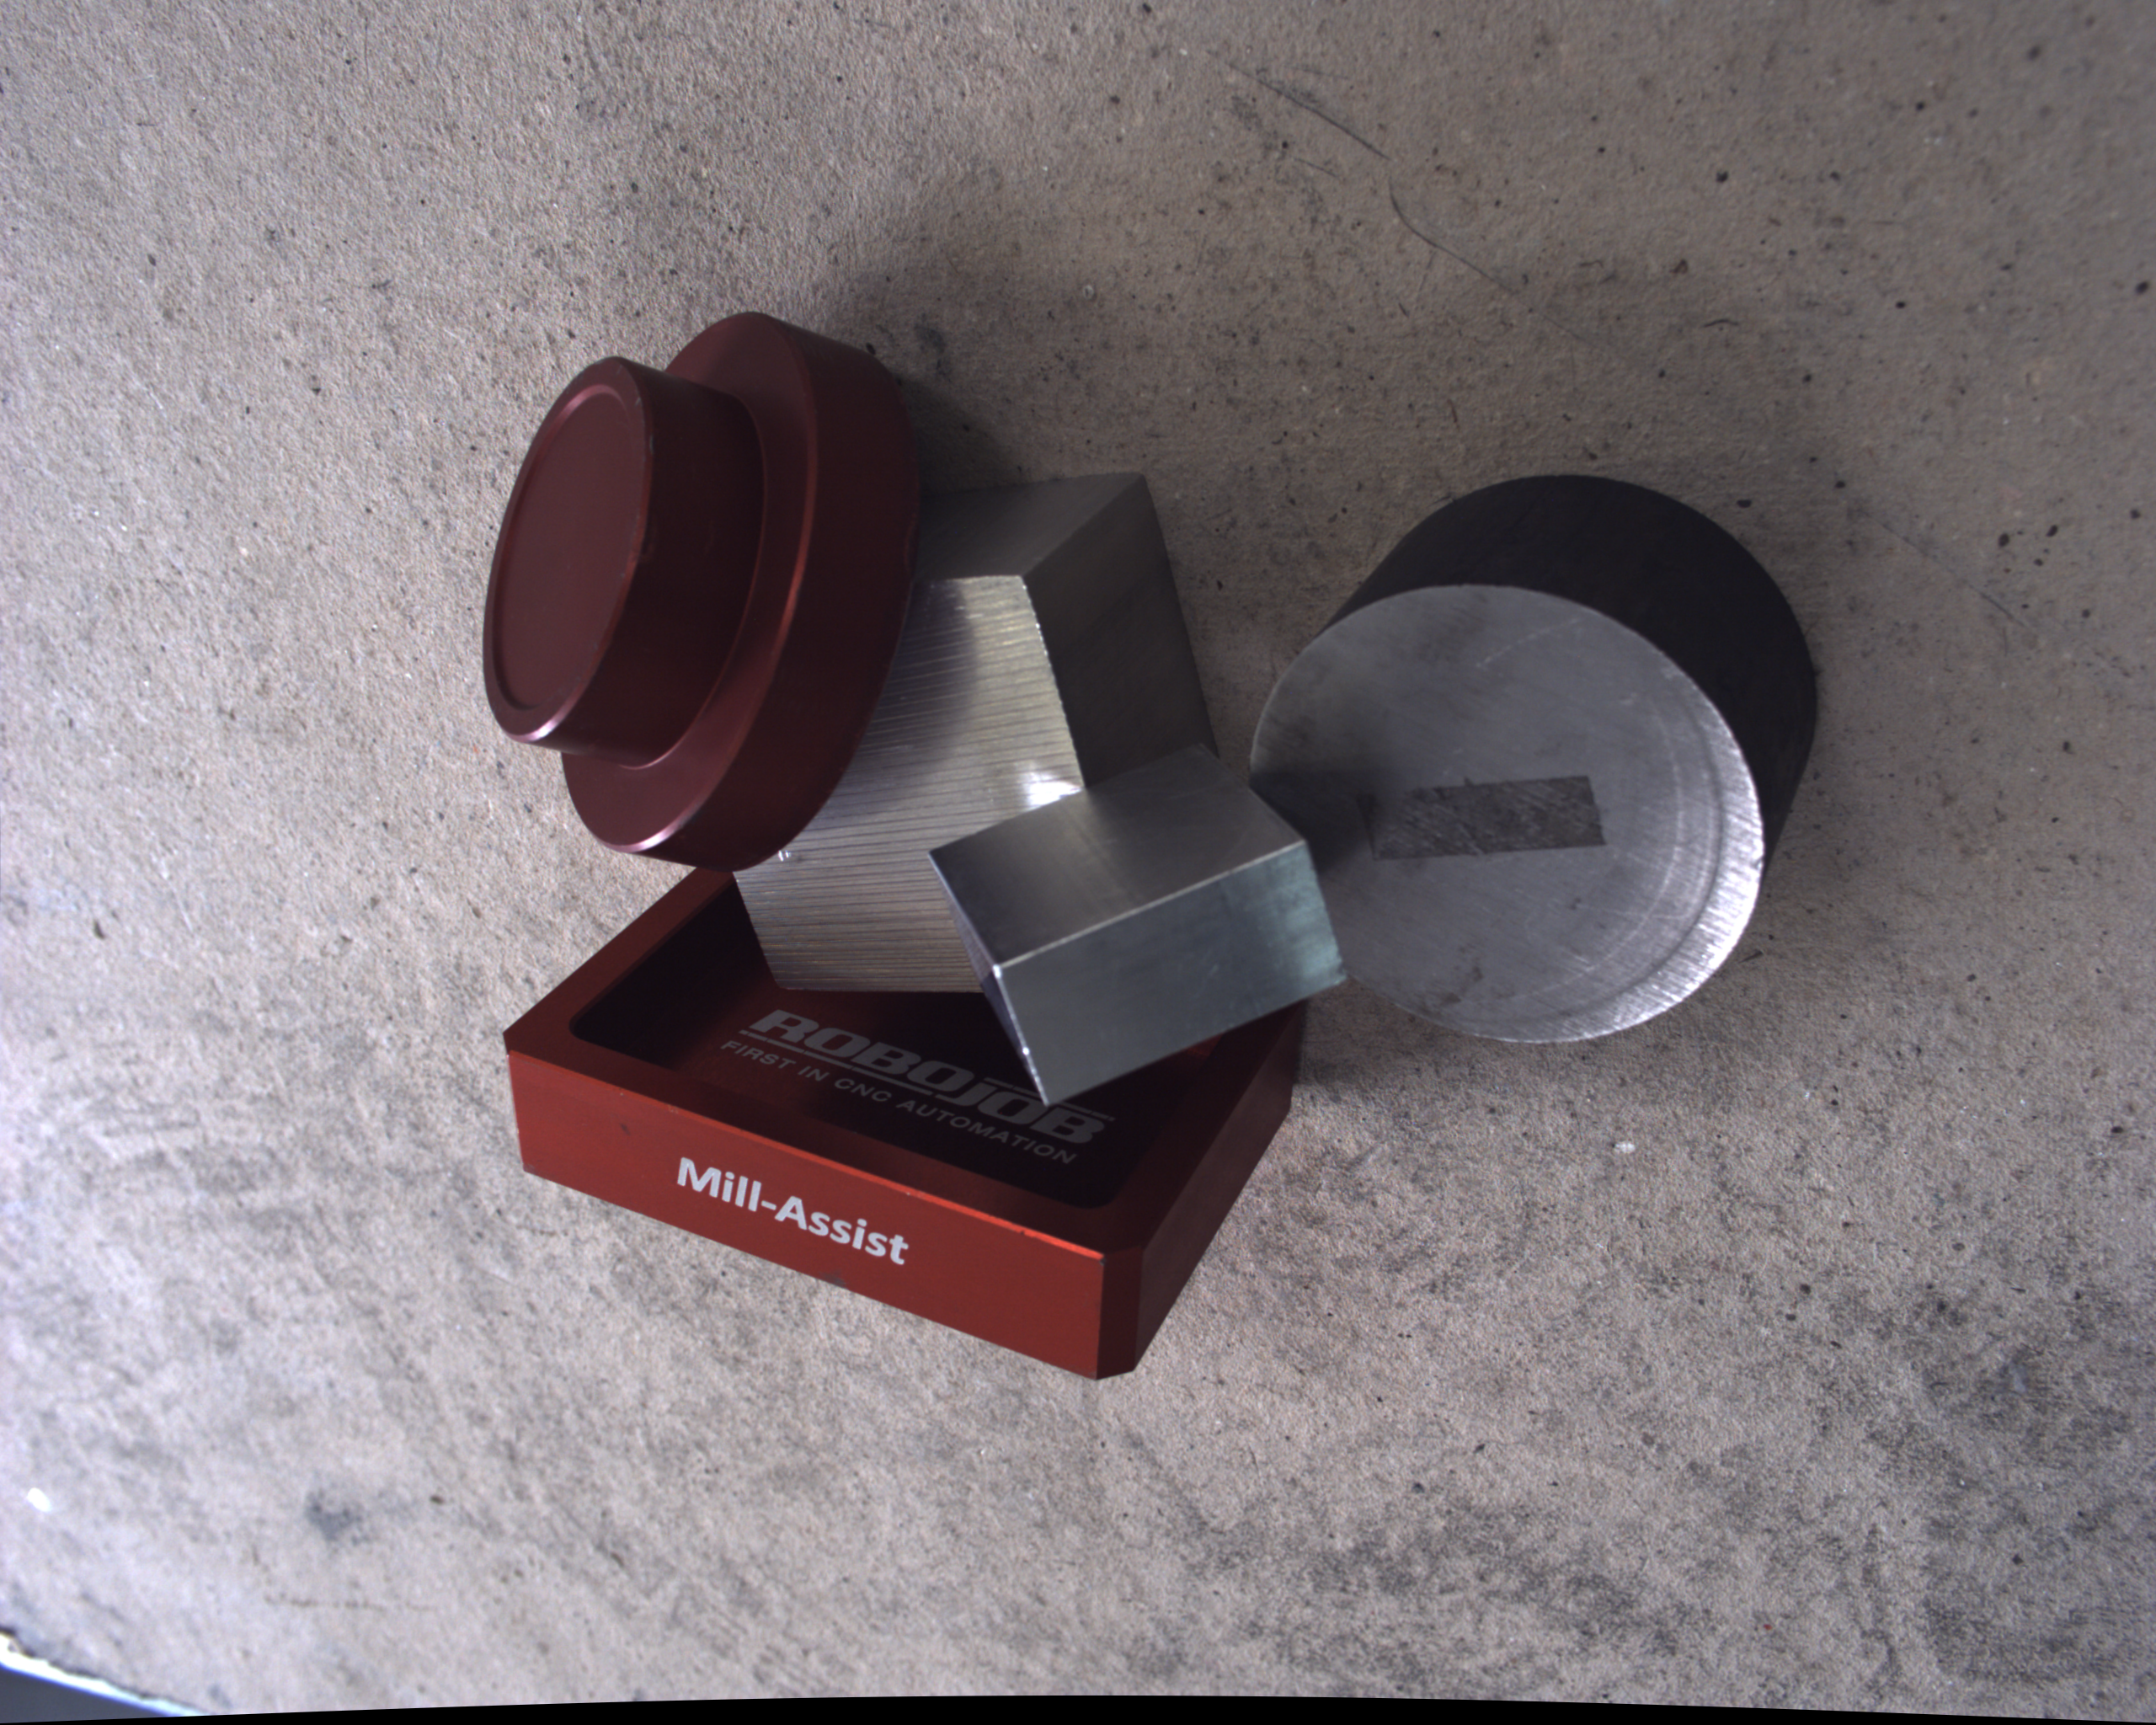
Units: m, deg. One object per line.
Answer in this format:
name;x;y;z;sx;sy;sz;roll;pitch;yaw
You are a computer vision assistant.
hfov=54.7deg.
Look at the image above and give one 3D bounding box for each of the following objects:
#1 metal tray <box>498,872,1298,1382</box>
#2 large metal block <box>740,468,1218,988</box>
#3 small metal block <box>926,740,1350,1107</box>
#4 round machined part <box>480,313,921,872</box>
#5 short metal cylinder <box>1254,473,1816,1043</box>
metal tray;-0.033;0.042;0.409;0.130;0.090;0.030;16;125;19
large metal block;-0.023;-0.023;0.391;0.080;0.050;0.080;-1;118;29
small metal block;0.008;0.008;0.334;0.050;0.050;0.025;-23;115;-7
round machined part;-0.072;-0.050;0.367;0.042;0.098;0.098;13;140;-36
short metal cylinder;0.075;-0.017;0.343;0.080;0.050;0.079;13;124;21
